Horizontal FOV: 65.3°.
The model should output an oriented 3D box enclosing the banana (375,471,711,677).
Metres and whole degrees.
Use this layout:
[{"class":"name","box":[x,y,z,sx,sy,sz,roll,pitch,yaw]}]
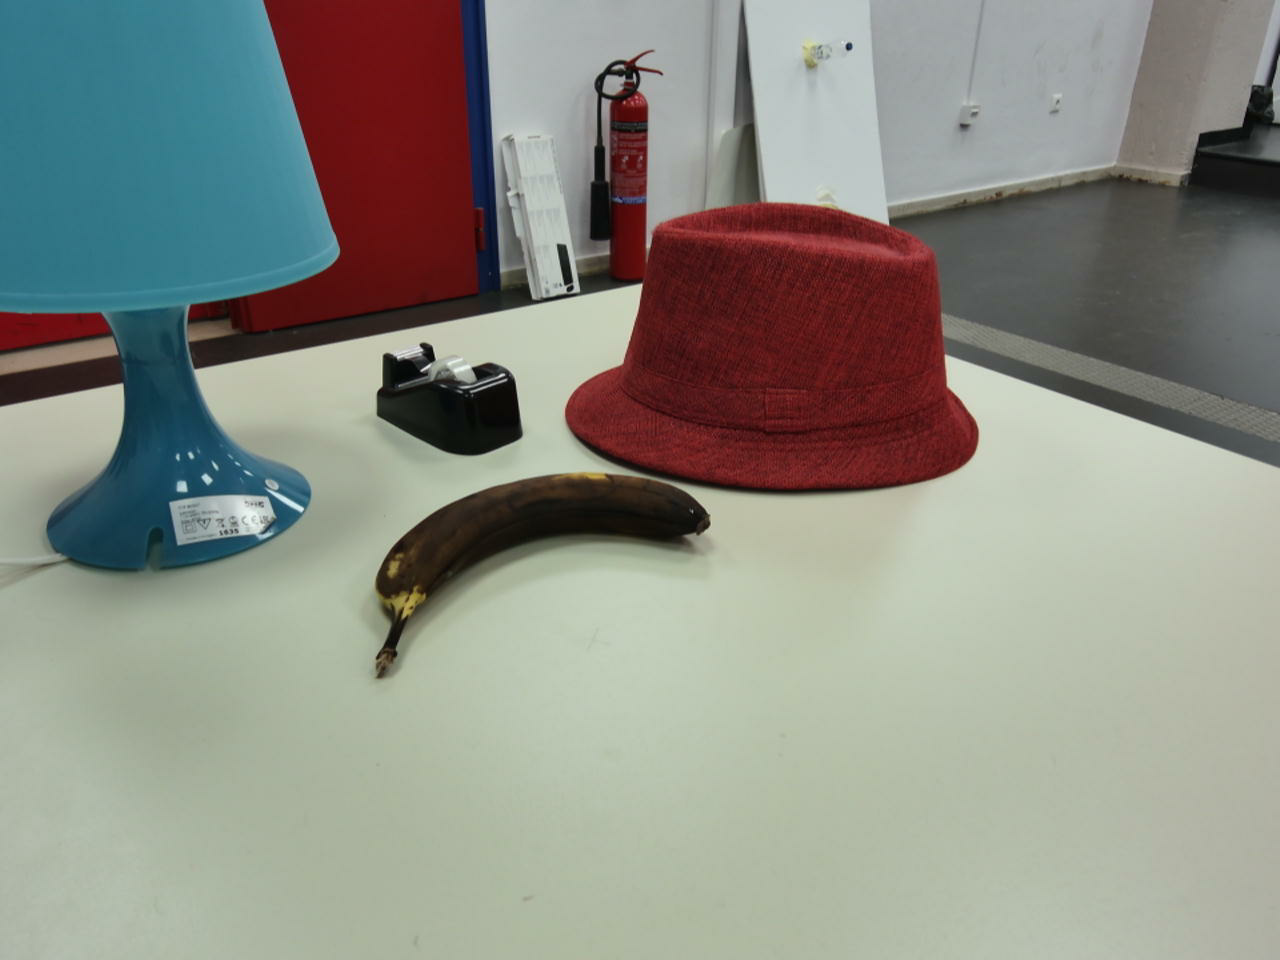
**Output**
[{"class":"banana","box":[-0.060,0.029,0.496,0.188,0.034,0.091,-18,30,-33]}]
